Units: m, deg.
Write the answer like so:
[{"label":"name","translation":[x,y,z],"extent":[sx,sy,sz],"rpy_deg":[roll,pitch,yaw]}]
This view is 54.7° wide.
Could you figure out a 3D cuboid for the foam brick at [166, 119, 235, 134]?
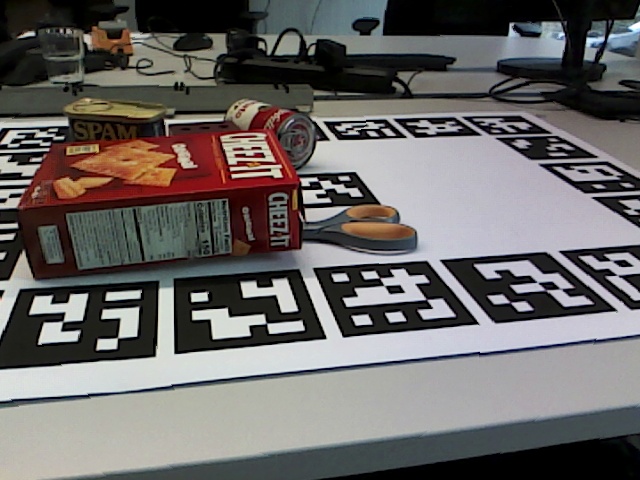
[{"label":"foam brick","translation":[-0.135,-0.106,0.721],"extent":[0.078,0.051,0.053],"rpy_deg":[-9,32,-21]}]

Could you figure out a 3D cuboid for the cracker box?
[{"label":"cracker box","translation":[-0.139,-0.042,0.553],"extent":[0.213,0.072,0.165],"rpy_deg":[-9,31,-14]}]

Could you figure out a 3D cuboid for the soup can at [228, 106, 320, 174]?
[{"label":"soup can","translation":[-0.060,-0.125,0.760],"extent":[0.103,0.068,0.067],"rpy_deg":[20,33,36]}]

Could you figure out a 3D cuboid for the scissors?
[{"label":"scissors","translation":[-0.021,-0.003,0.561],"extent":[0.202,0.016,0.088],"rpy_deg":[-6,31,-16]}]

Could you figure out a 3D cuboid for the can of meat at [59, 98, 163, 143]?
[{"label":"can of meat","translation":[-0.220,-0.102,0.665],"extent":[0.102,0.083,0.058],"rpy_deg":[4,30,0]}]
